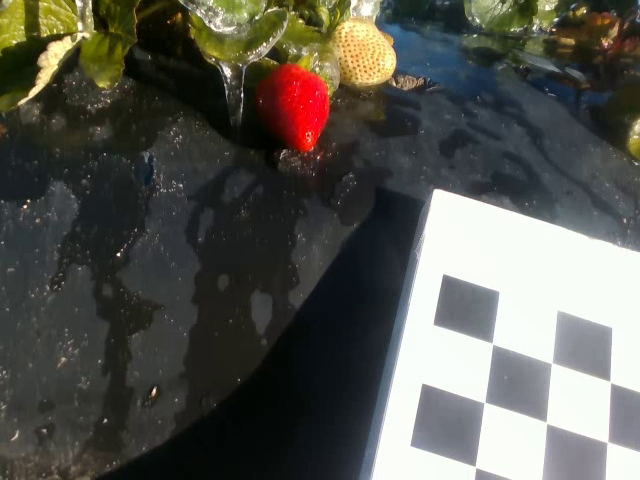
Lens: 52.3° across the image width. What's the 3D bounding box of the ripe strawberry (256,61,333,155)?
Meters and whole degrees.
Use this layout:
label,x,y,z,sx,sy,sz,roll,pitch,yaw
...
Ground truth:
label,x,y,z,sx,sy,sz,roll,pitch,yaw
ripe strawberry,-0.008,-0.066,0.296,0.041,0.052,0.040,3,-37,-10
